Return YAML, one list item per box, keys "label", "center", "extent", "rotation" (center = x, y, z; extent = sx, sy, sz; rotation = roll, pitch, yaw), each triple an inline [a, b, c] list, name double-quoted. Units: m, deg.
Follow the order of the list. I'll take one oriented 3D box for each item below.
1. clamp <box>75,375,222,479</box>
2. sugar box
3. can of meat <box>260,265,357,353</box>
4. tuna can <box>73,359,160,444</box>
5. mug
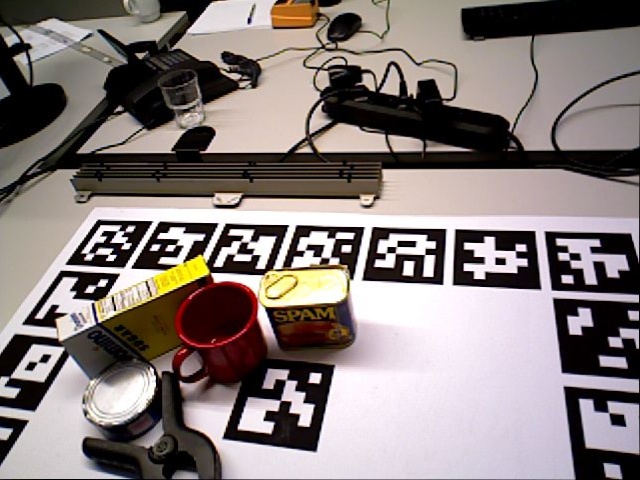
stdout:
- label: "clamp"
  center: [-0.151, 0.218, 0.534]
  extent: [0.119, 0.037, 0.165]
  rotation: [-36, 53, -28]
- label: "sugar box"
  center: [-0.203, 0.097, 0.627]
  extent: [0.174, 0.094, 0.045]
  rotation: [-25, 44, -14]
- label: "can of meat"
  center: [-0.009, 0.079, 0.607]
  extent: [0.102, 0.085, 0.057]
  rotation: [-4, 43, 7]
- label: "tuna can"
  center: [-0.218, 0.174, 0.586]
  extent: [0.086, 0.034, 0.084]
  rotation: [-7, 46, 6]
- label: "mug"
  center: [-0.116, 0.107, 0.592]
  extent: [0.093, 0.083, 0.115]
  rotation: [22, 55, 30]
